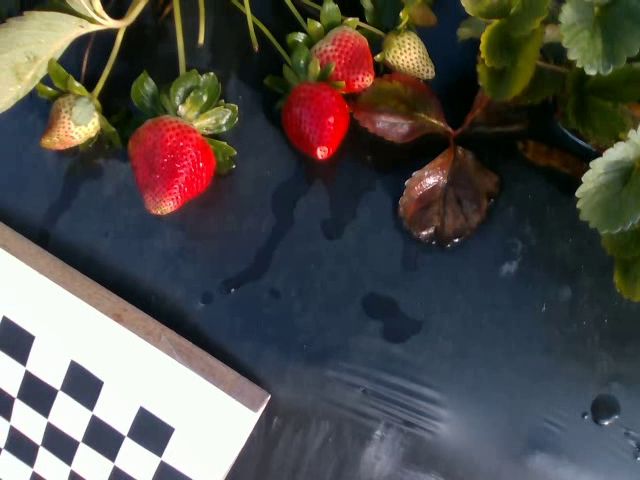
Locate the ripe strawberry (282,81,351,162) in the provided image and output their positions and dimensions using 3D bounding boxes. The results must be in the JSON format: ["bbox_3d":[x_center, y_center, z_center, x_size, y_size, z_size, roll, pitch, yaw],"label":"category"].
[{"bbox_3d":[-0.004,-0.062,0.342,0.044,0.055,0.041,-34,-48,26],"label":"ripe strawberry"}]

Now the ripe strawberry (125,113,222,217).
[{"bbox_3d":[-0.086,-0.039,0.334,0.050,0.065,0.050,-8,-42,23],"label":"ripe strawberry"}]
